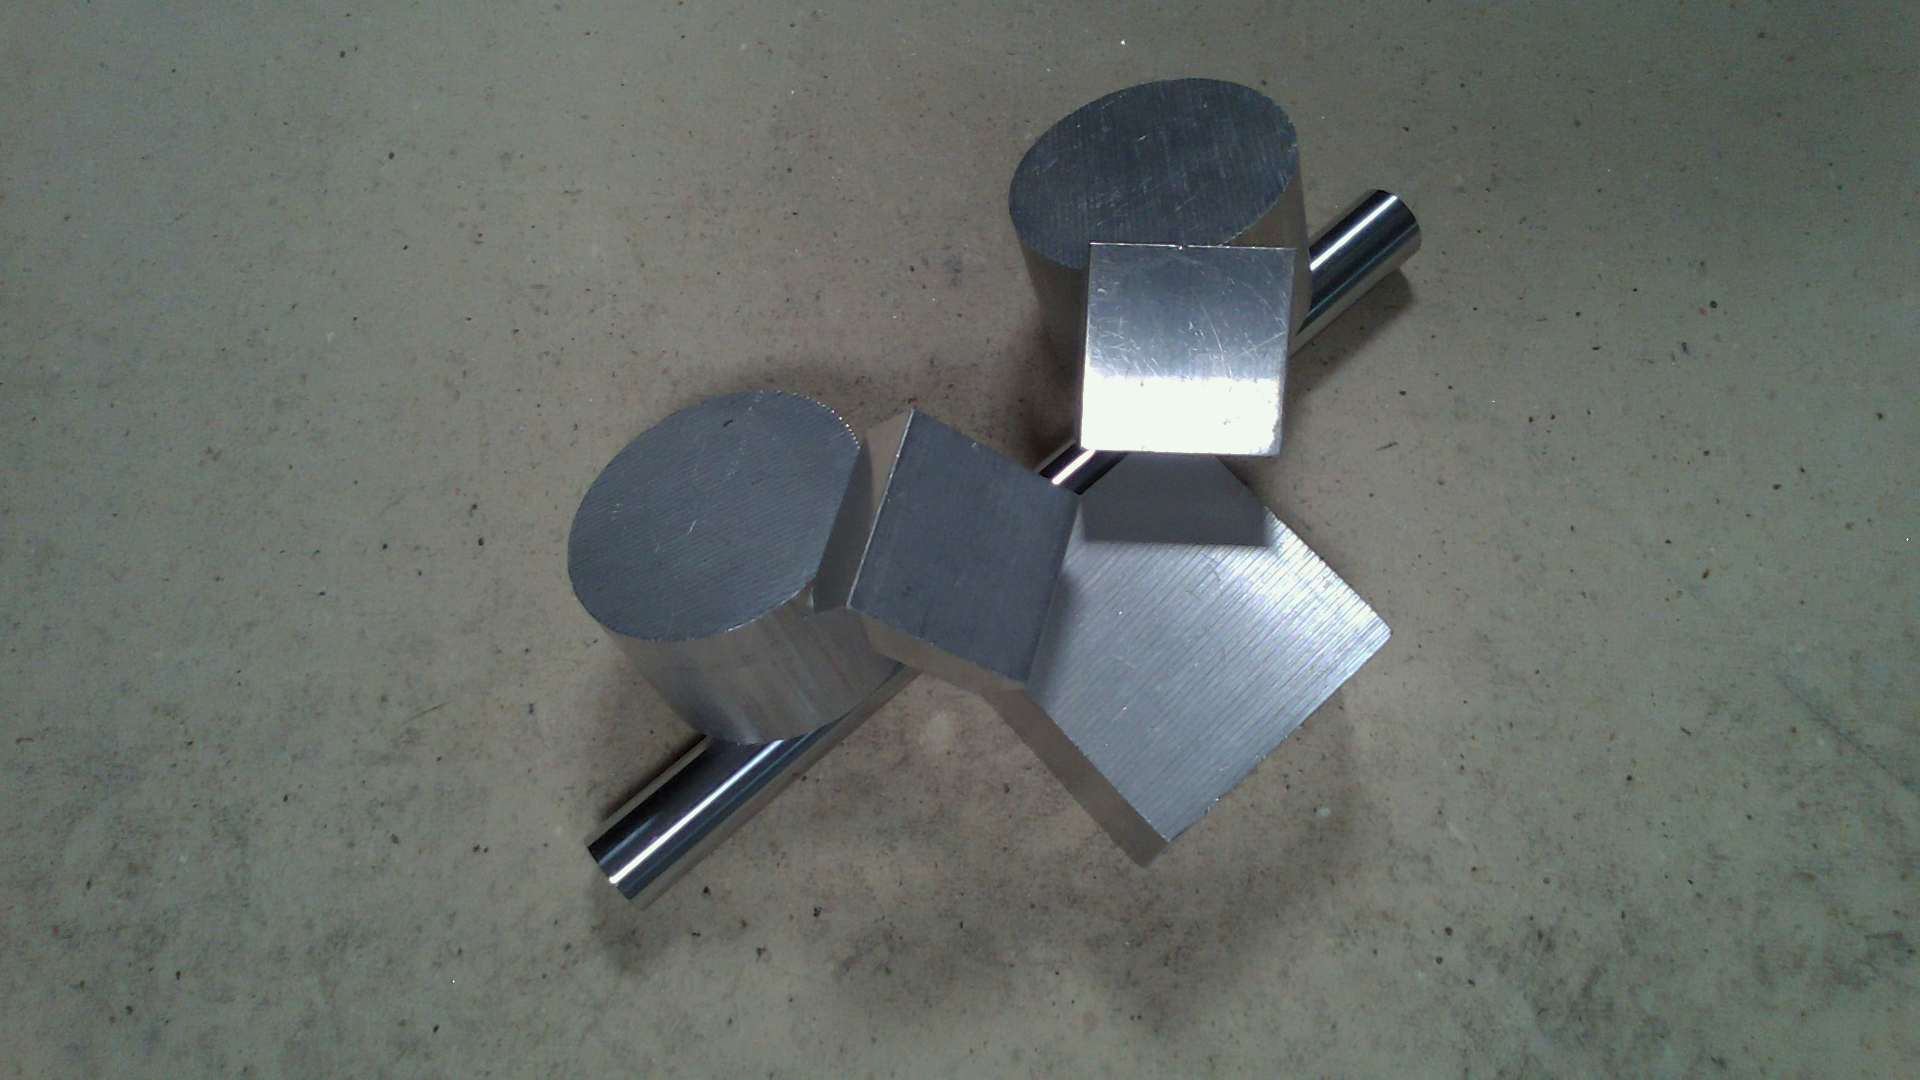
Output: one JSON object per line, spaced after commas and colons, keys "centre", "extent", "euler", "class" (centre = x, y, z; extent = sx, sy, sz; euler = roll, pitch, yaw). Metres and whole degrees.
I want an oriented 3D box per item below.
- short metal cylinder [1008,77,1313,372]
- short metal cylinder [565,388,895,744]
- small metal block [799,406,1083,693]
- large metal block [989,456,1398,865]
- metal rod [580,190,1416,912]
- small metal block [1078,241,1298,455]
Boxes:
{"centre": [0.059, -0.088, 0.398], "extent": [0.080, 0.050, 0.080], "euler": [-10, 50, 12], "class": "short metal cylinder"}
{"centre": [-0.055, 0.006, 0.364], "extent": [0.080, 0.050, 0.080], "euler": [-10, 50, 12], "class": "short metal cylinder"}
{"centre": [-0.004, 0.004, 0.327], "extent": [0.050, 0.025, 0.050], "euler": [26, 69, -25], "class": "small metal block"}
{"centre": [0.054, 0.028, 0.369], "extent": [0.080, 0.050, 0.080], "euler": [-40, 75, -13], "class": "large metal block"}
{"centre": [0.021, -0.005, 0.396], "extent": [0.300, 0.025, 0.025], "euler": [-40, 75, -13], "class": "metal rod"}
{"centre": [0.055, -0.048, 0.346], "extent": [0.050, 0.025, 0.050], "euler": [2, 100, 1], "class": "small metal block"}
